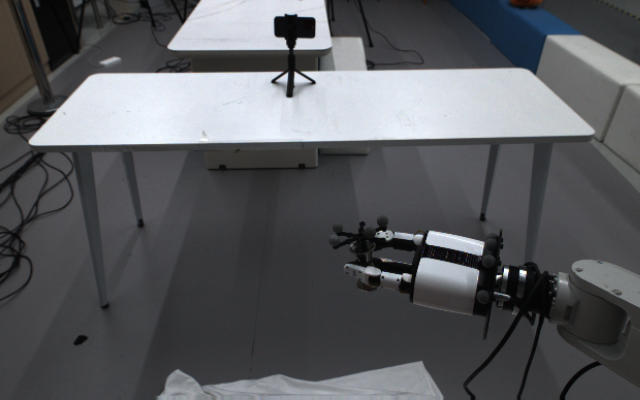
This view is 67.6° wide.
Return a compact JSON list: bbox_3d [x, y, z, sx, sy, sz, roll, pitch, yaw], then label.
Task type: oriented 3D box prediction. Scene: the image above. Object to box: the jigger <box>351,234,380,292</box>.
[{"bbox_3d":[0.072,0.099,0.745,0.043,0.071,0.043,-11,24,5],"label":"jigger"}]
